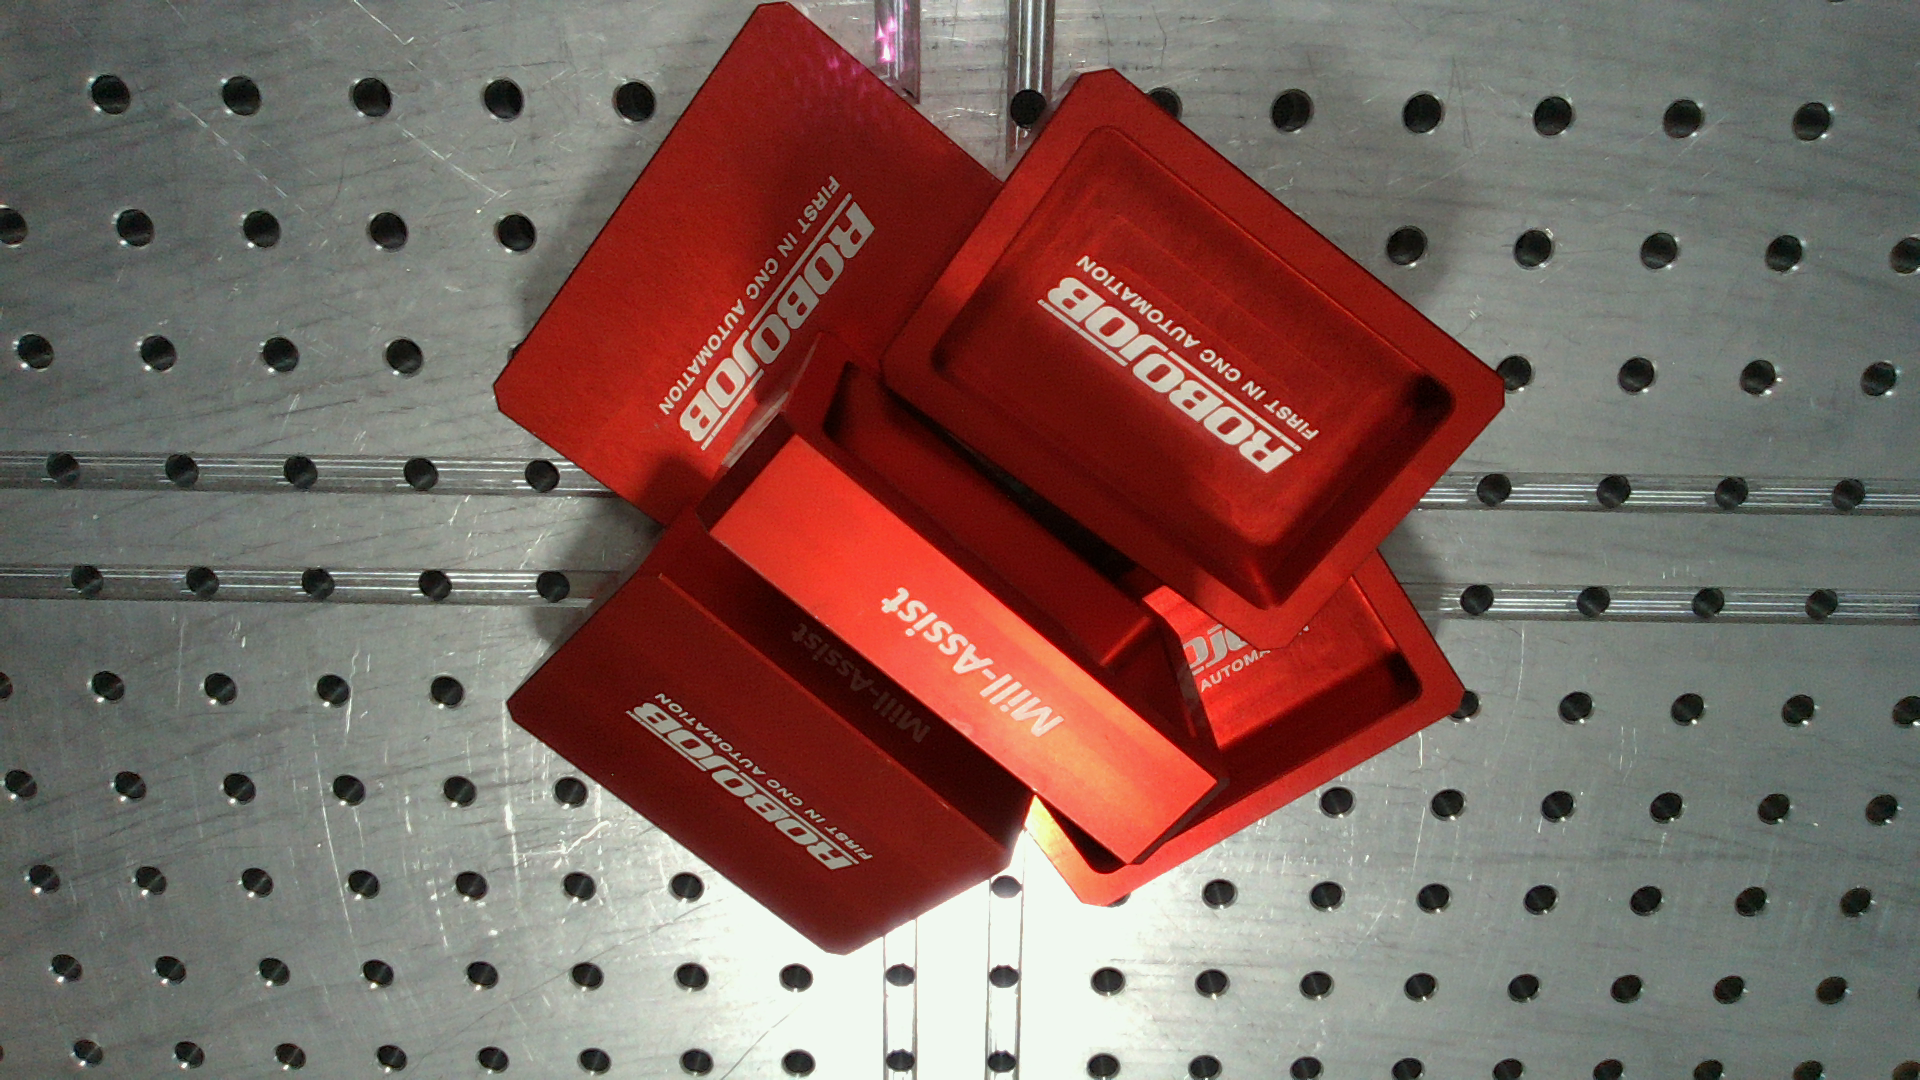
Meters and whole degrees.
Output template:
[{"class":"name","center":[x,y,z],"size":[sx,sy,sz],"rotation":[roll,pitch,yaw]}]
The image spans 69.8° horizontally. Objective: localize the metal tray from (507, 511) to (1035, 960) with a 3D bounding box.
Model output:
[{"class":"metal tray","center":[-0.054,0.061,0.396],"size":[0.130,0.030,0.090],"rotation":[41,131,-14]}]

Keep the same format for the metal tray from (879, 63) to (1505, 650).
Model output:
[{"class":"metal tray","center":[0.057,-0.044,0.346],"size":[0.130,0.030,0.090],"rotation":[34,106,-12]}]

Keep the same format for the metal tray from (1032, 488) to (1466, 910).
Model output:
[{"class":"metal tray","center":[0.069,0.041,0.408],"size":[0.130,0.030,0.090],"rotation":[-32,107,11]}]

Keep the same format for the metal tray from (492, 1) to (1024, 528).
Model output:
[{"class":"metal tray","center":[-0.051,-0.063,0.369],"size":[0.090,0.030,0.130],"rotation":[37,106,-13]}]

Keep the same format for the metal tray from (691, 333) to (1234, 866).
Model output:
[{"class":"metal tray","center":[0.003,0.011,0.333],"size":[0.130,0.090,0.030],"rotation":[39,106,-13]}]
